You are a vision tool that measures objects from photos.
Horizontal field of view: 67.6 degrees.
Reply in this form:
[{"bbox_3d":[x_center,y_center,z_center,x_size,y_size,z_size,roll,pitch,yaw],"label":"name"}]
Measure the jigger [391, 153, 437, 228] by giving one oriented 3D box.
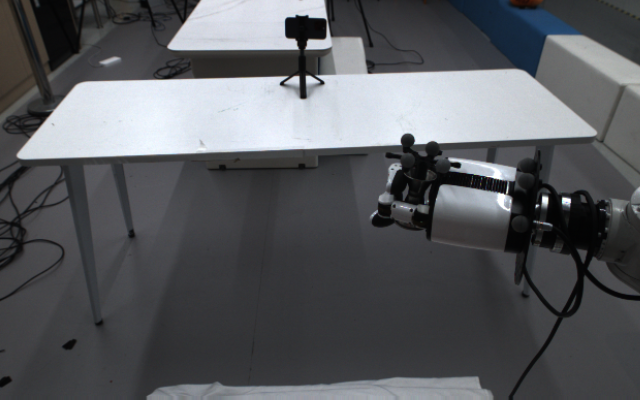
[{"bbox_3d":[0.119,-0.002,0.603,0.043,0.071,0.043,6,26,-3],"label":"jigger"}]
